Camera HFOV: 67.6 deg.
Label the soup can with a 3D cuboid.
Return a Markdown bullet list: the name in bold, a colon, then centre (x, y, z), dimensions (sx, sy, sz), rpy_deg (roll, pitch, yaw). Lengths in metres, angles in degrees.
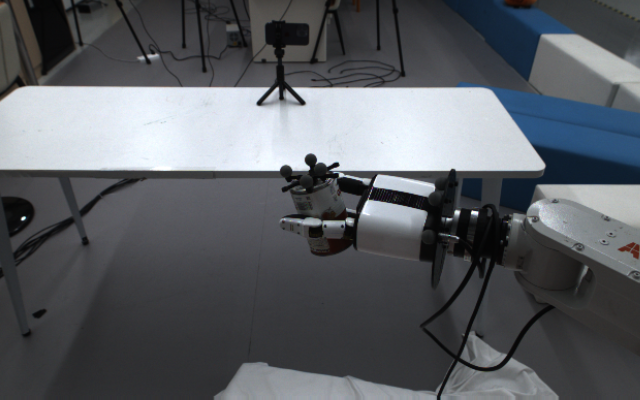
- **soup can**: centre (0.005, 0.018, 0.674), dimensions (0.067, 0.101, 0.067), rpy_deg (-16, 22, 7)
